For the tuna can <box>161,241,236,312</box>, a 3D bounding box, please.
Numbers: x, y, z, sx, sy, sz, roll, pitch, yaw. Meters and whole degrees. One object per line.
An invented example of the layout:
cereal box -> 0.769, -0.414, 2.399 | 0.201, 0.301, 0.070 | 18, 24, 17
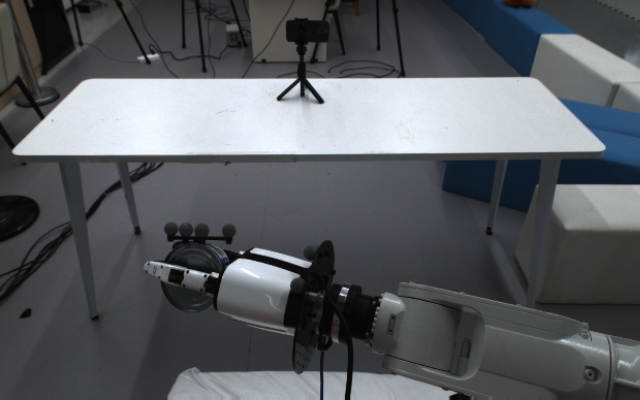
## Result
tuna can -> -0.152, 0.097, 0.610 | 0.085, 0.085, 0.034 | 12, -1, 13
